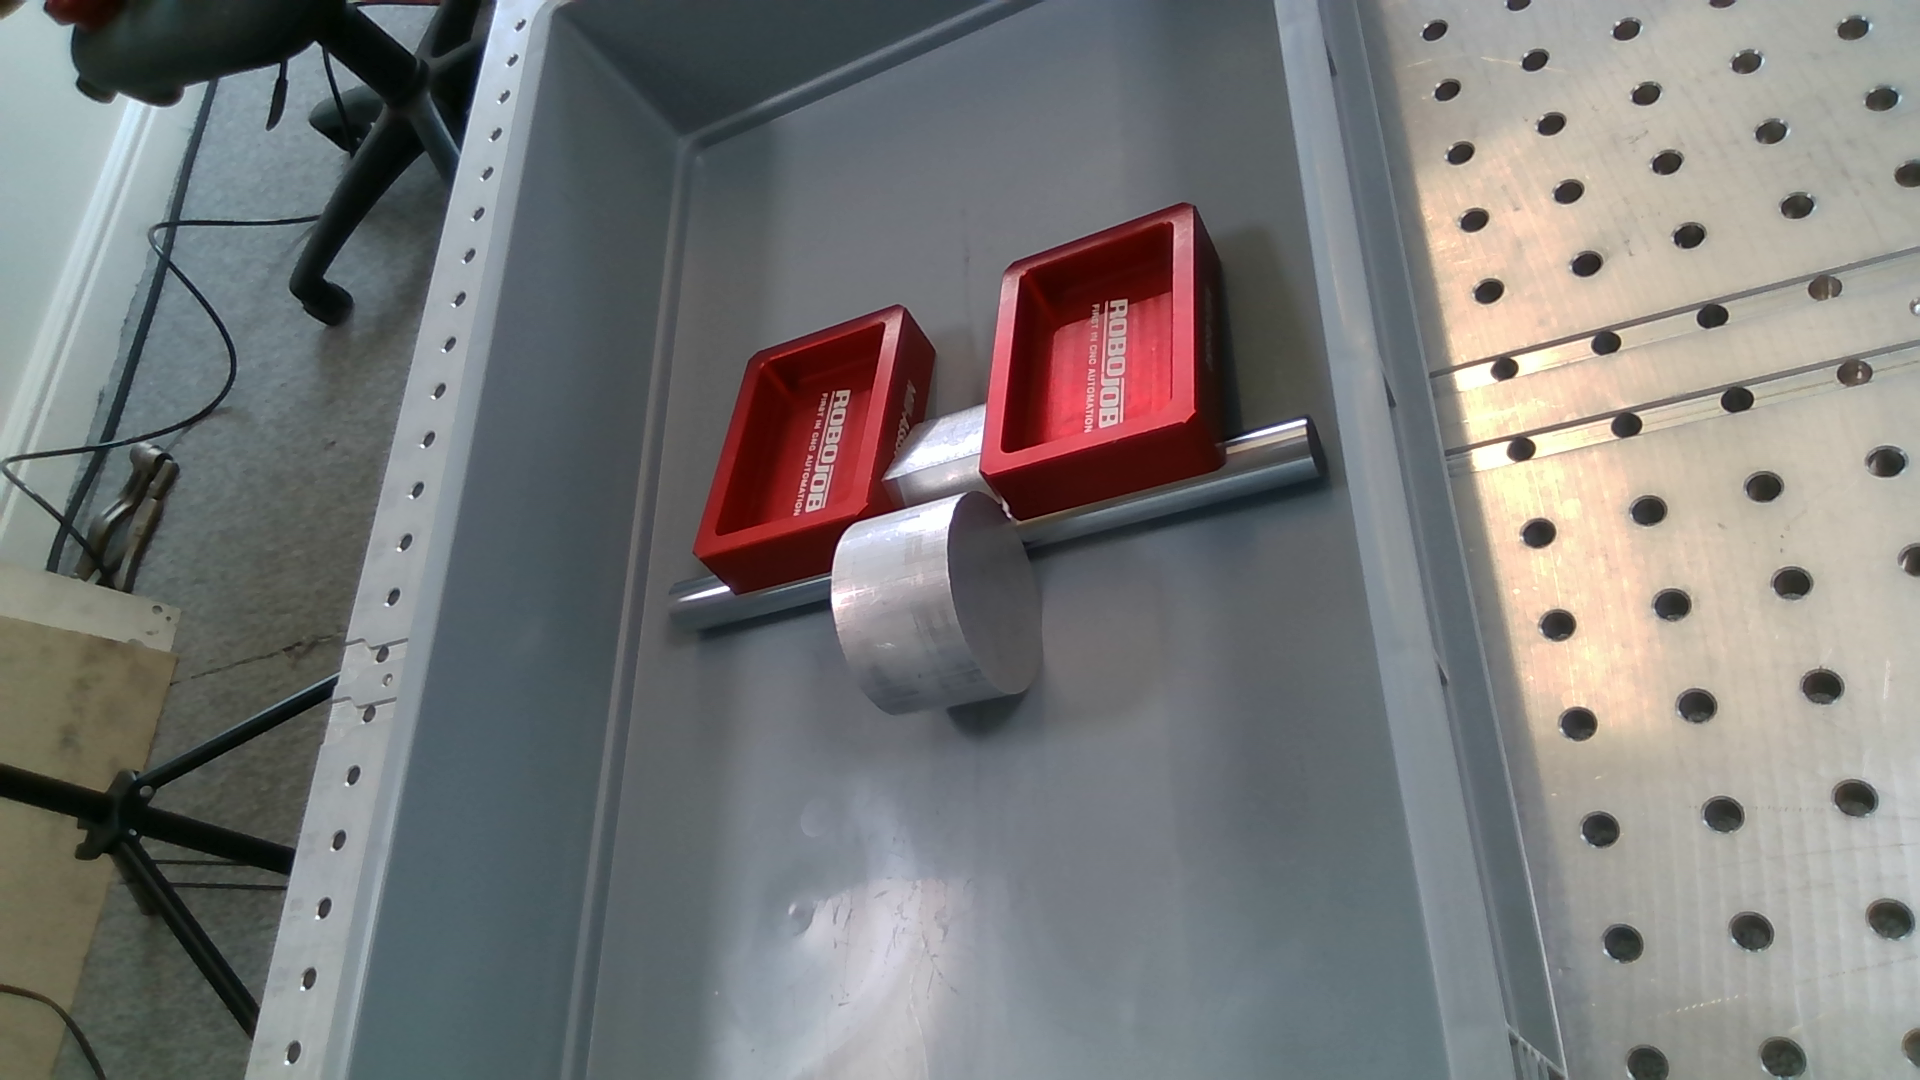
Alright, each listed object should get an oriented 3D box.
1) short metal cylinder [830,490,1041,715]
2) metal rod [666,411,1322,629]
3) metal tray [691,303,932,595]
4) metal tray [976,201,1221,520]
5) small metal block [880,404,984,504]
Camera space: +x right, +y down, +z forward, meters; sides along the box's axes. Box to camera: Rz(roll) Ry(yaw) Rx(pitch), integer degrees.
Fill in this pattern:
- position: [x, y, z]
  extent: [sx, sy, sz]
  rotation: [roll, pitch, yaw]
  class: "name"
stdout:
- position: [-0.008, 0.025, 0.541]
  extent: [0.050, 0.080, 0.080]
  rotation: [-14, 59, 25]
  class: "short metal cylinder"
- position: [0.002, -0.003, 0.584]
  extent: [0.300, 0.025, 0.025]
  rotation: [-14, 59, 25]
  class: "metal rod"
- position: [-0.064, -0.043, 0.626]
  extent: [0.090, 0.030, 0.130]
  rotation: [-14, 46, 25]
  class: "metal tray"
- position: [0.058, -0.076, 0.567]
  extent: [0.090, 0.030, 0.130]
  rotation: [-15, 46, 25]
  class: "metal tray"
- position: [0.000, -0.034, 0.589]
  extent: [0.050, 0.025, 0.050]
  rotation: [-14, 28, 25]
  class: "small metal block"
